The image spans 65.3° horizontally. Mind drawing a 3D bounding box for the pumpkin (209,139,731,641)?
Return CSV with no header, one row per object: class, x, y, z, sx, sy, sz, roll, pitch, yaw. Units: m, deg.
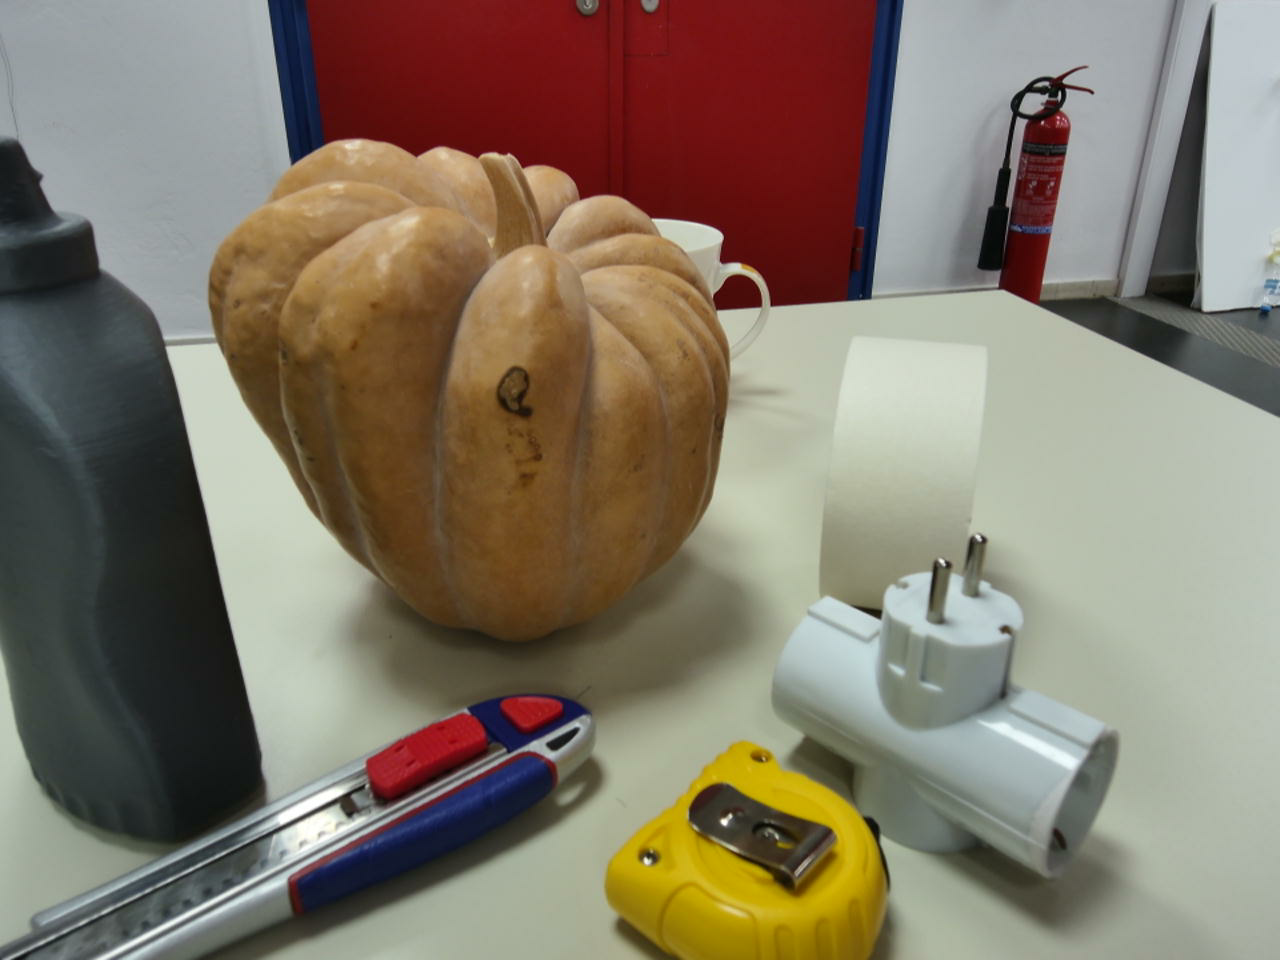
pumpkin,-0.058,-0.037,0.386,0.199,0.177,0.198,0,25,0
